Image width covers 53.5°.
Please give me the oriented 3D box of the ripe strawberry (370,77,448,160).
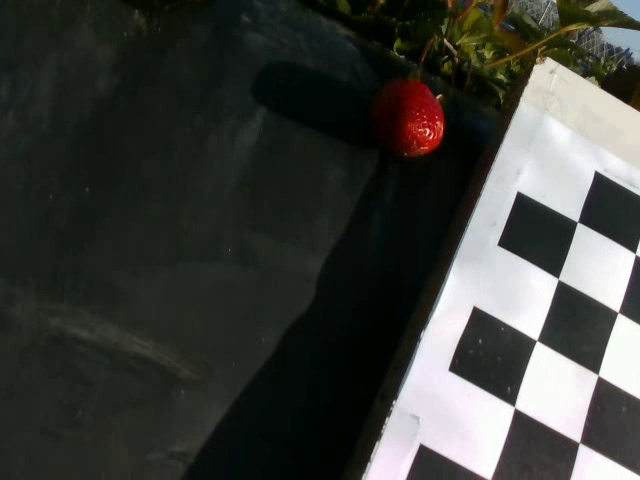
[{"bbox_3d":[0.027,-0.036,0.198,0.034,0.033,0.038,28,15,-4],"label":"ripe strawberry"}]
